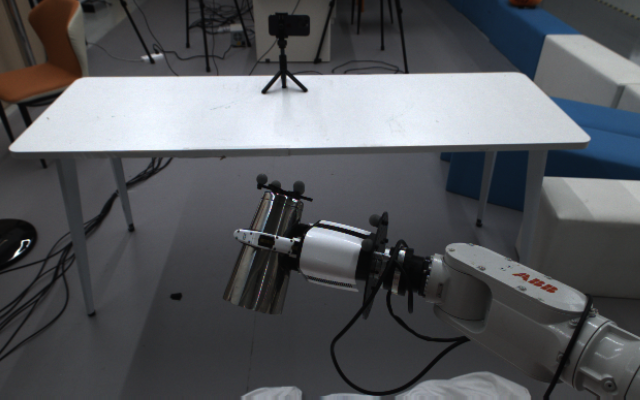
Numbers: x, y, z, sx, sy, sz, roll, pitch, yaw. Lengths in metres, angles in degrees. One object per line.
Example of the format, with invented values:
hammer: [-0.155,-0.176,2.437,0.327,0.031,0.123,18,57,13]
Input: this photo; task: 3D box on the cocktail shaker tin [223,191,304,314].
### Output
cocktail shaker tin: [-0.080,0.078,0.735,0.093,0.170,0.093,15,-6,2]
